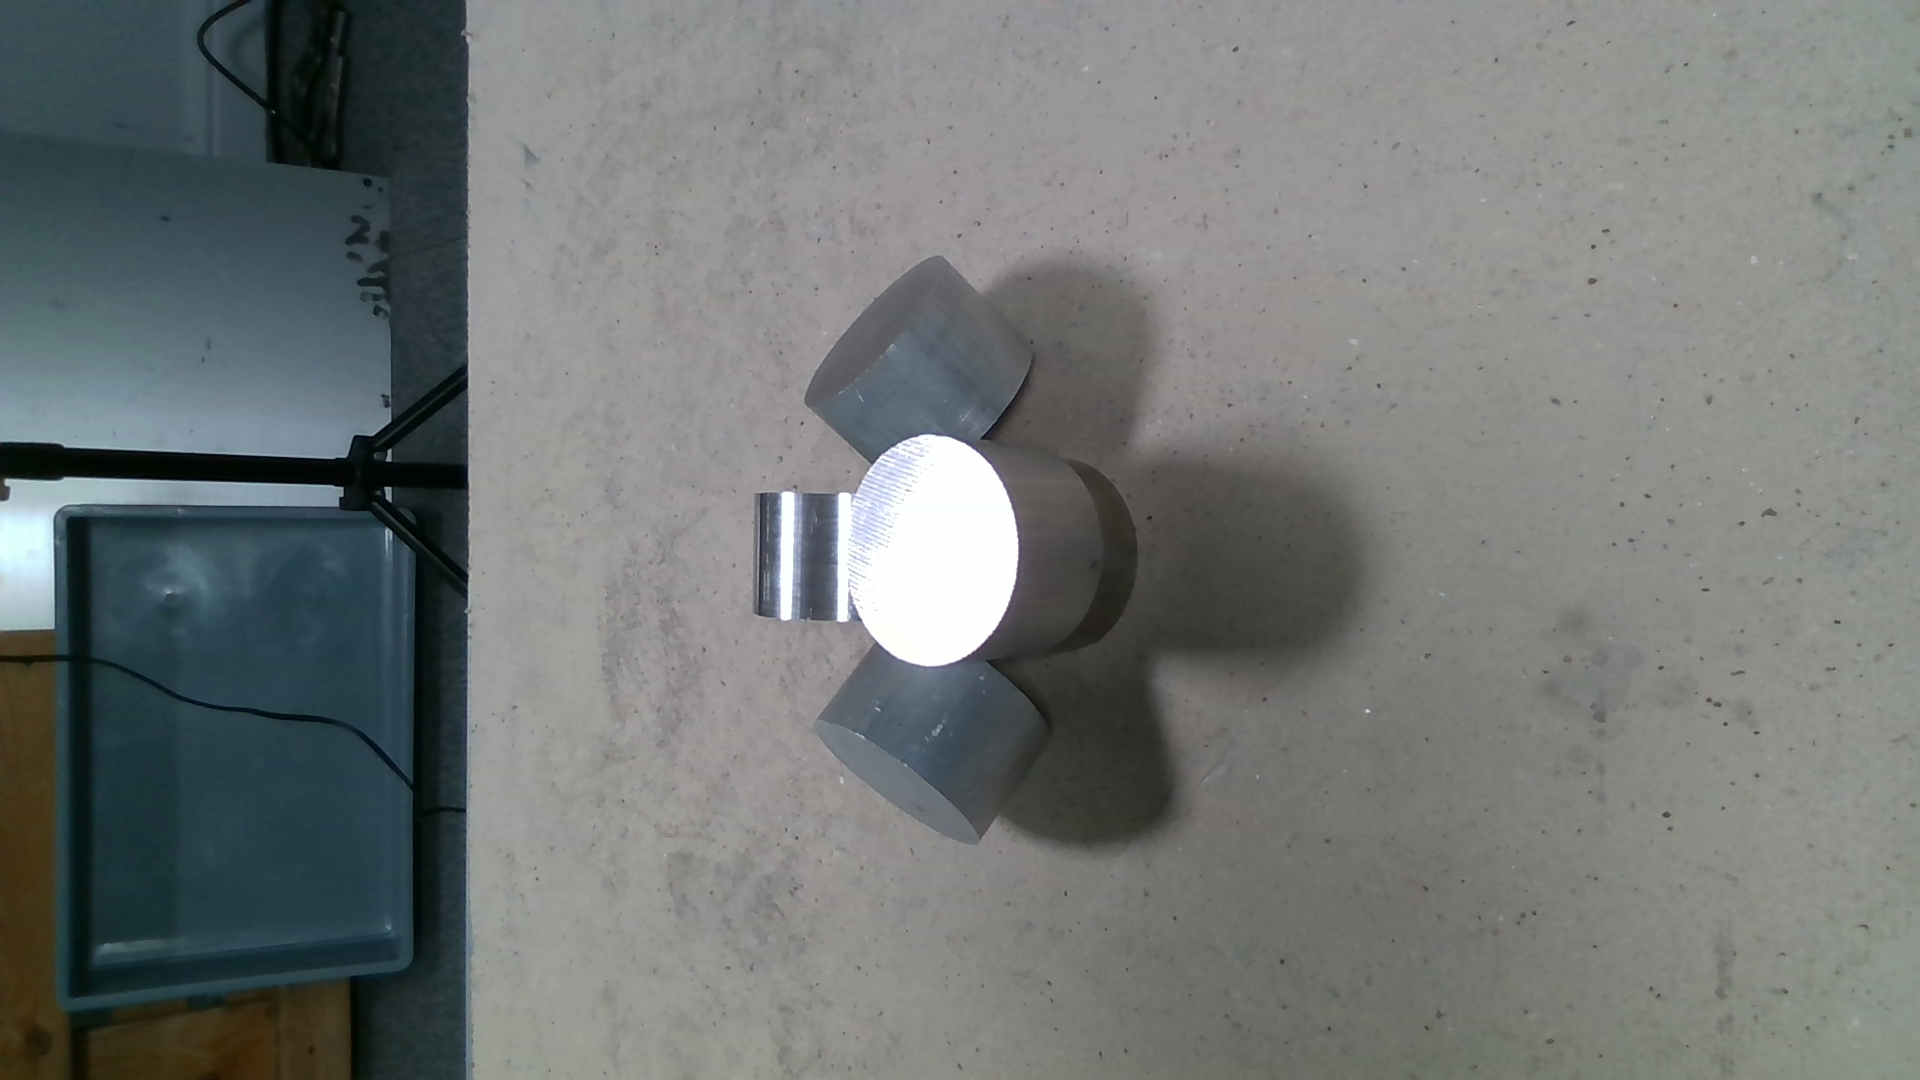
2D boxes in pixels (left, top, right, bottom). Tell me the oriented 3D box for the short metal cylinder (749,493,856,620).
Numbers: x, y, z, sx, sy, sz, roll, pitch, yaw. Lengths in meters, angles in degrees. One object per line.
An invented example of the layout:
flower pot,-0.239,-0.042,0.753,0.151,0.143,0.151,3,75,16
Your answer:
short metal cylinder,-0.050,0.006,0.587,0.080,0.080,0.050,2,92,40

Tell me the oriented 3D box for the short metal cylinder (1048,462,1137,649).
short metal cylinder,0.023,0.006,0.547,0.080,0.050,0.080,0,91,40

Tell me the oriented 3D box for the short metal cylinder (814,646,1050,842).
short metal cylinder,-0.011,0.077,0.549,0.080,0.080,0.050,19,64,38

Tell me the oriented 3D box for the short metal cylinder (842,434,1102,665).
short metal cylinder,0.004,0.003,0.496,0.080,0.050,0.080,0,91,40

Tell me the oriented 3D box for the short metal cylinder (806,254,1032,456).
short metal cylinder,-0.017,-0.068,0.554,0.080,0.050,0.080,-40,23,20
